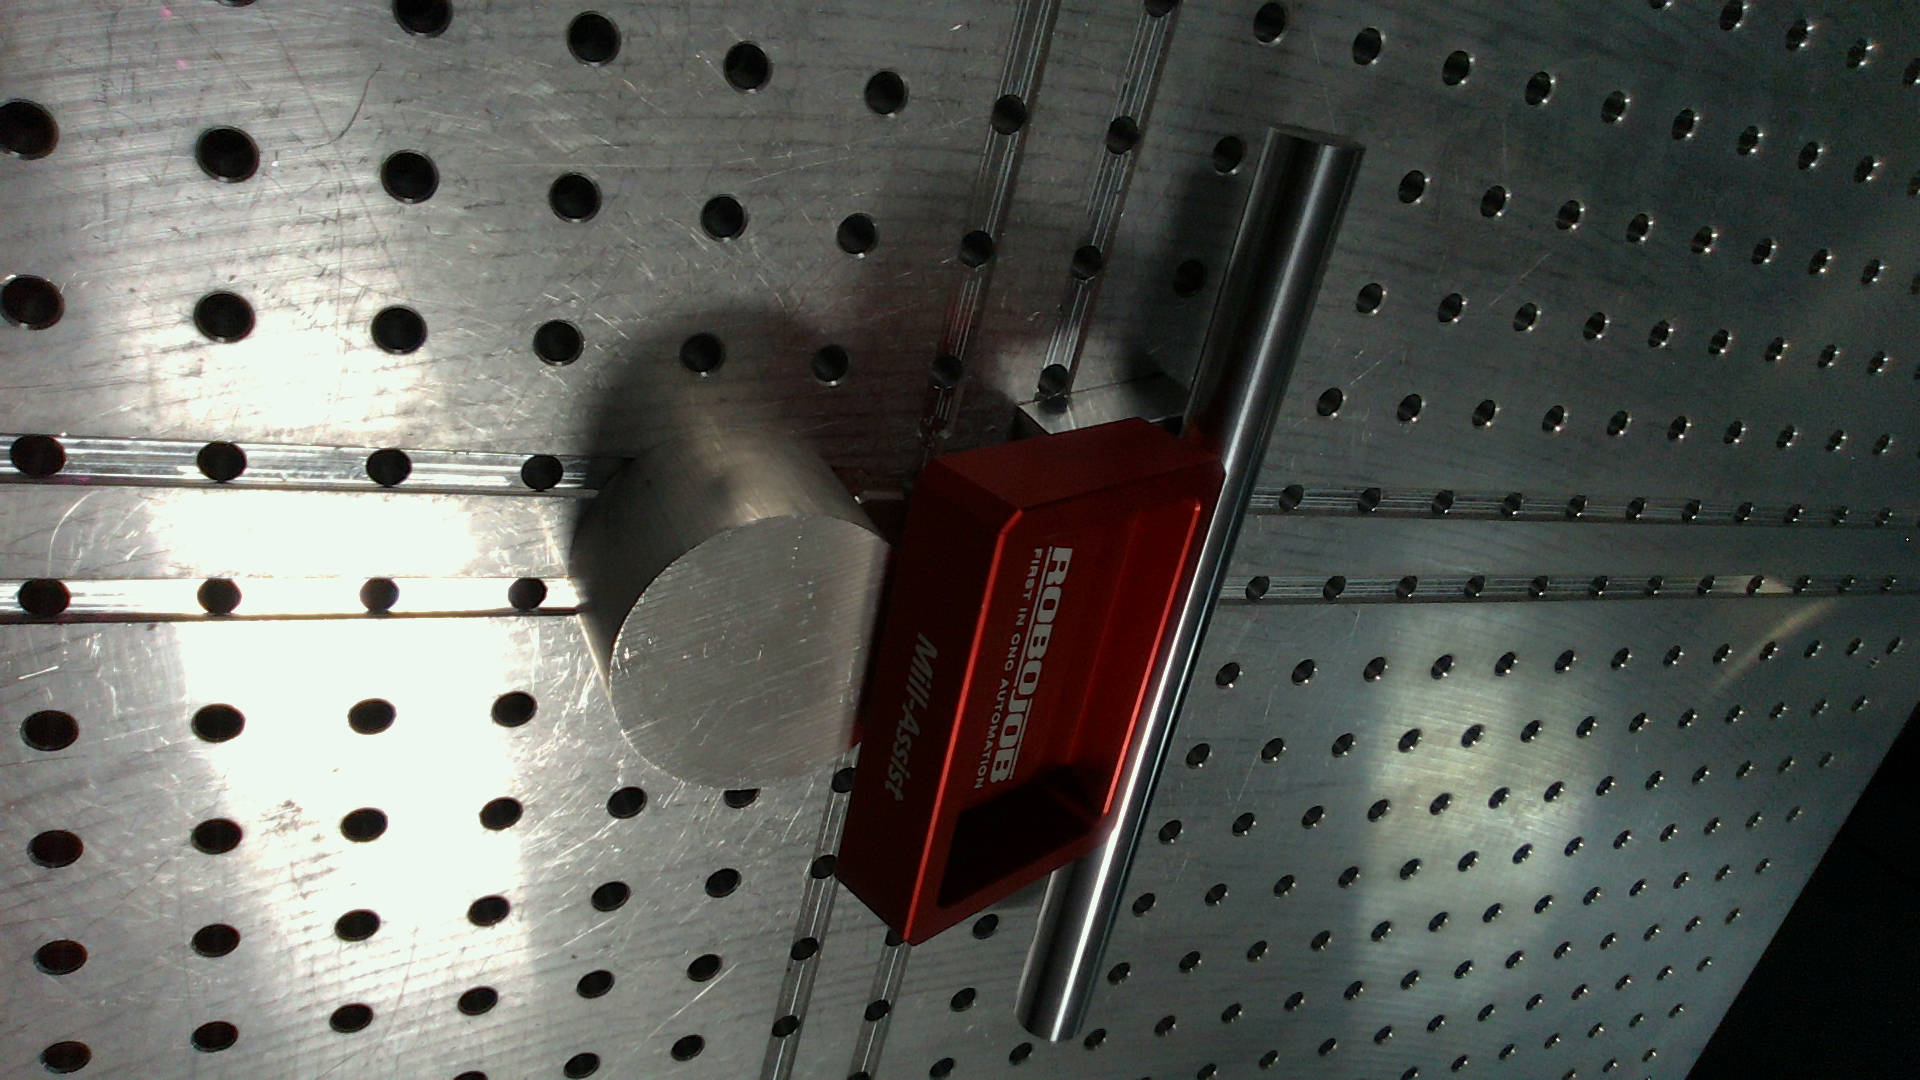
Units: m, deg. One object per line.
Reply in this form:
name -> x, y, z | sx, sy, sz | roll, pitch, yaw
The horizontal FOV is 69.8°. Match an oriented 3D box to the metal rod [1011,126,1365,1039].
metal rod -> 0.059, 0.031, 0.411 | 0.025, 0.025, 0.300 | -2, 119, -28

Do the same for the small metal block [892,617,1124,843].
small metal block -> 0.016, 0.061, 0.437 | 0.050, 0.025, 0.050 | -43, 129, 2

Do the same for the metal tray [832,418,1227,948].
metal tray -> 0.018, 0.037, 0.370 | 0.090, 0.030, 0.130 | -15, 127, -44

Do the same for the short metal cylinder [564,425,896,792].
short metal cylinder -> -0.057, 0.017, 0.355 | 0.080, 0.050, 0.080 | -14, 124, -21

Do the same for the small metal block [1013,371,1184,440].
small metal block -> 0.043, -0.018, 0.405 | 0.050, 0.025, 0.050 | -14, 124, -20
